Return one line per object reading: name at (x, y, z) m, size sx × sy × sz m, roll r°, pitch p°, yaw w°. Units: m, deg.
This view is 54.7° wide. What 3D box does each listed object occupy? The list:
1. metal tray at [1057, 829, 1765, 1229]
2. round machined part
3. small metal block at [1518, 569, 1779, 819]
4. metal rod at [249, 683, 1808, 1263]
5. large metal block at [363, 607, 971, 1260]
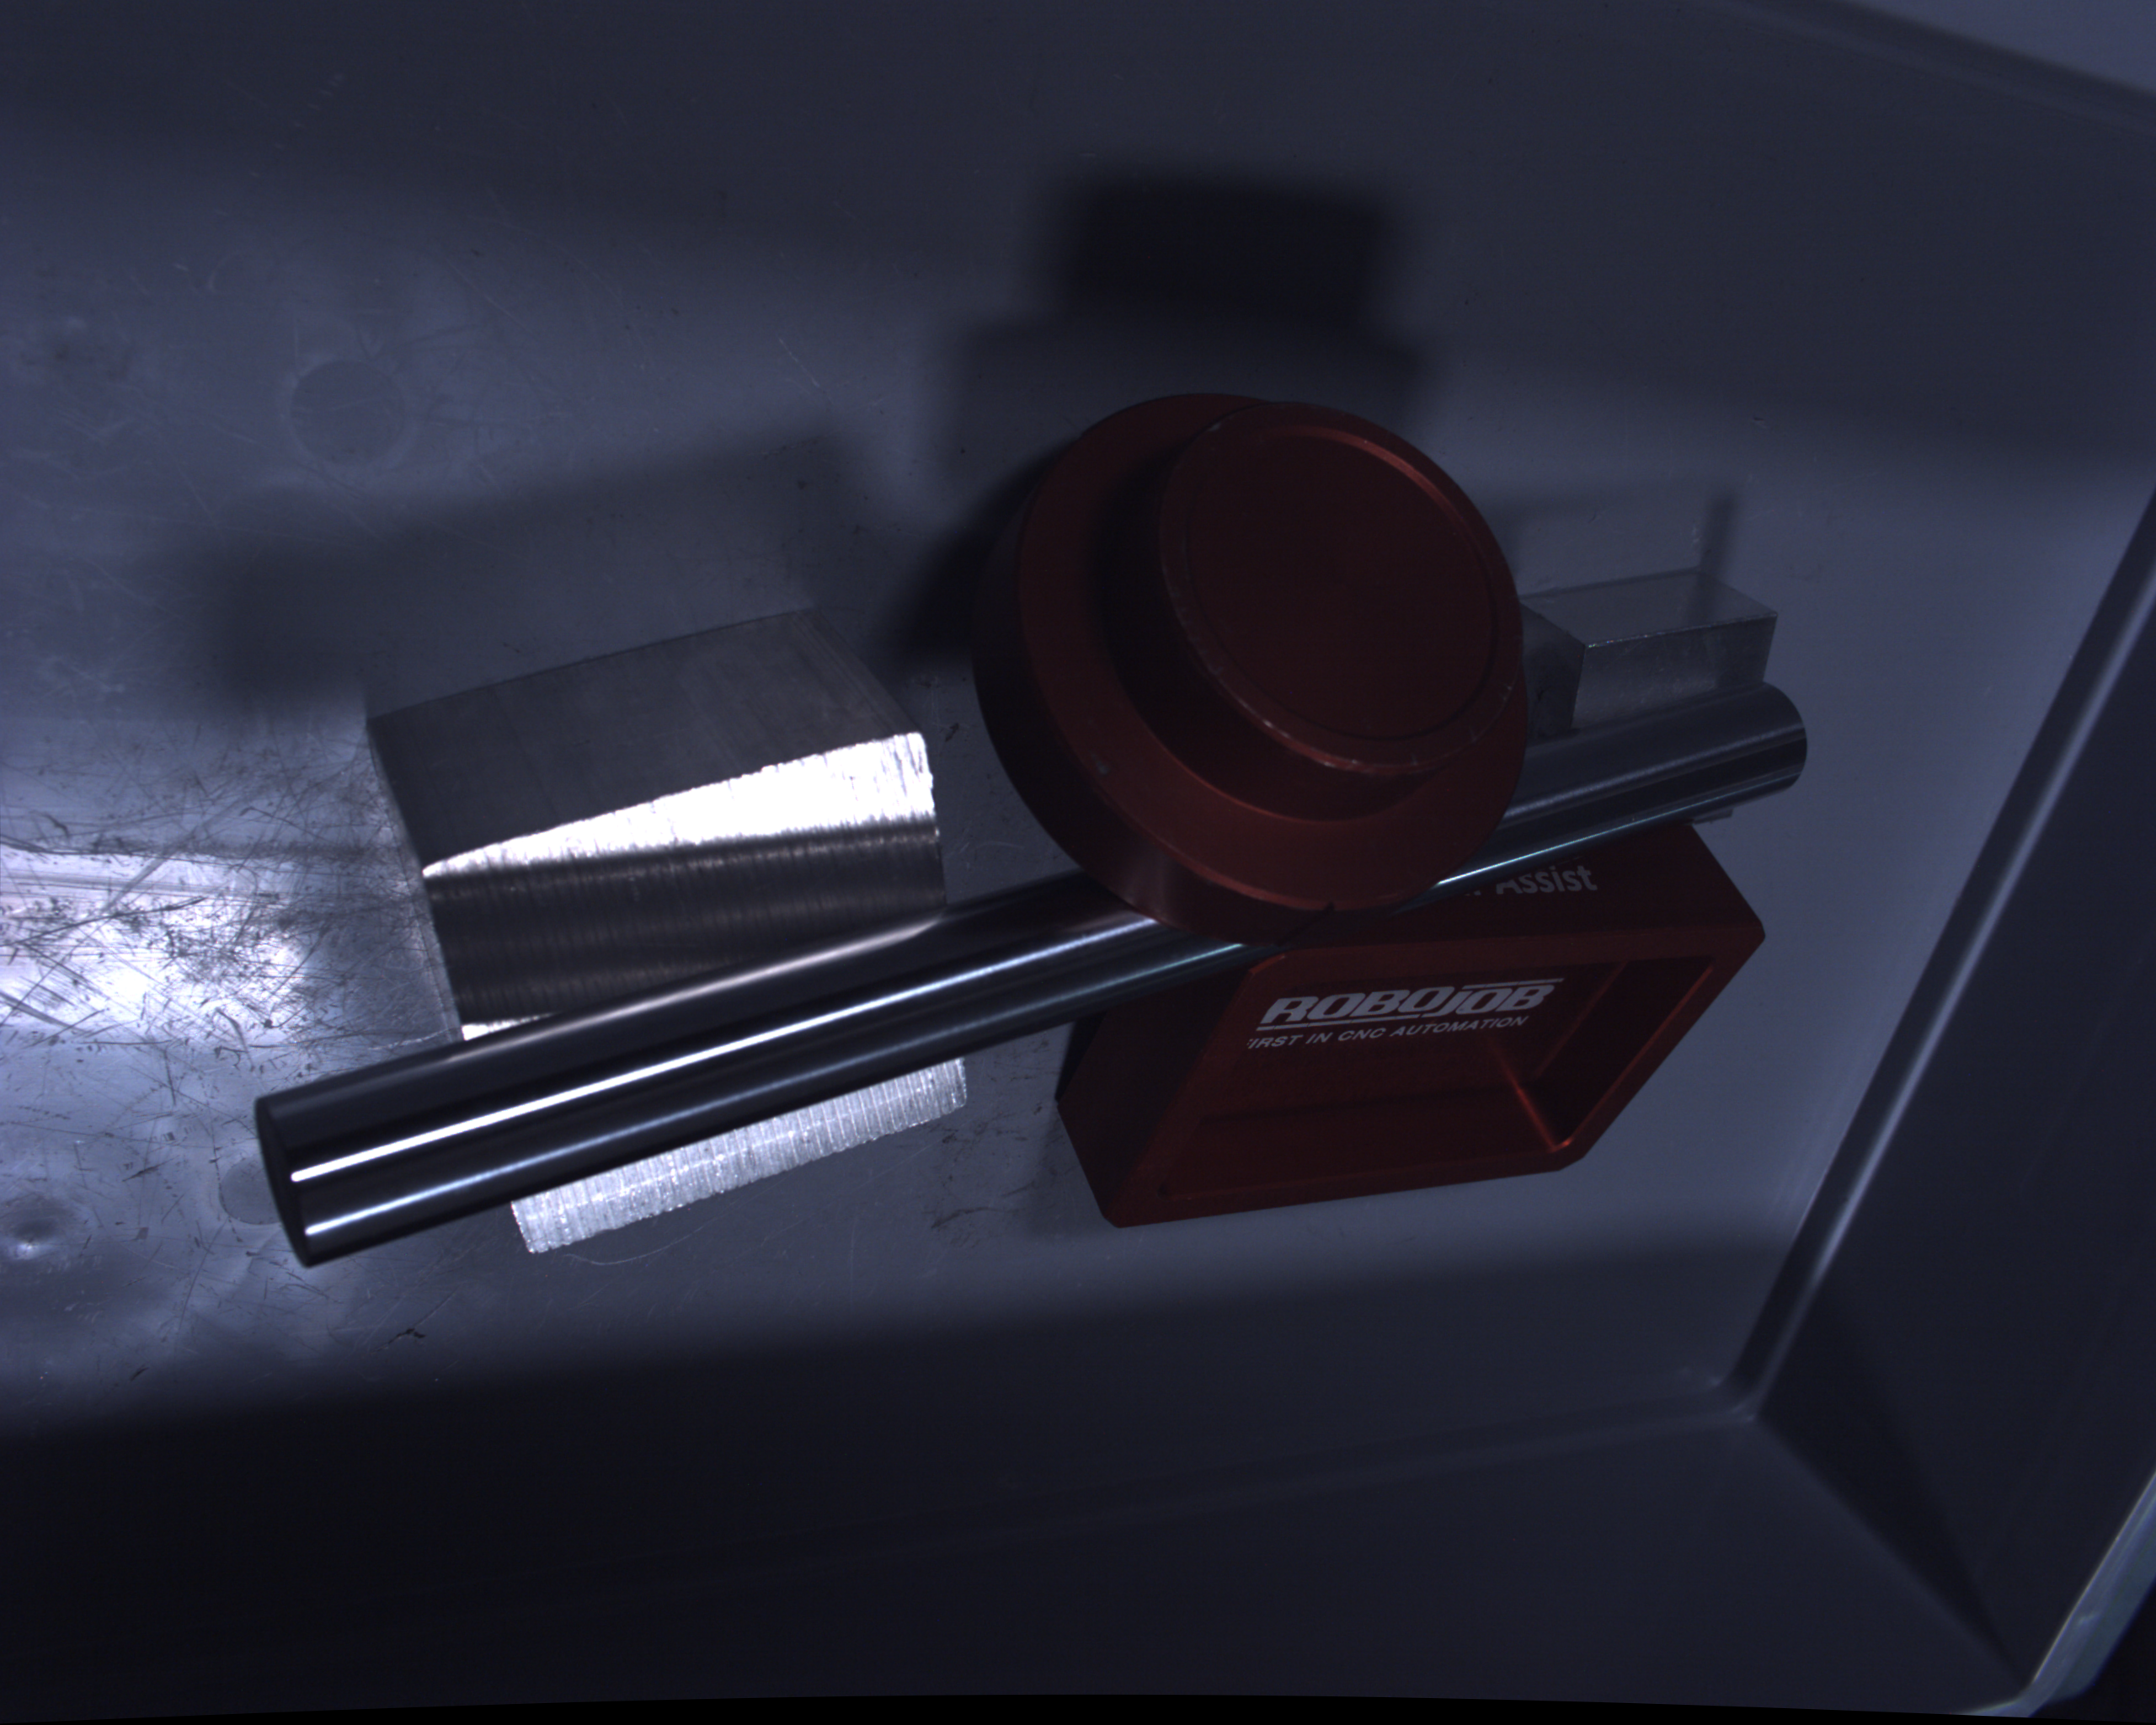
metal tray at (0.071, 0.035, 0.448) m, size 0.131 × 0.030 × 0.089 m, roll -2°, pitch 139°, yaw -29°
round machined part at (0.035, -0.038, 0.354) m, size 0.099 × 0.098 × 0.042 m, roll -5°, pitch 161°, yaw -27°
small metal block at (0.119, -0.033, 0.453) m, size 0.050 × 0.025 × 0.050 m, roll -11°, pitch 123°, yaw -23°
metal rod at (0.015, 0.009, 0.364) m, size 0.303 × 0.025 × 0.025 m, roll -15°, pitch 125°, yaw -29°
large metal block at (-0.069, 0.011, 0.360) m, size 0.081 × 0.050 × 0.079 m, roll -17°, pitch 125°, yaw -19°
